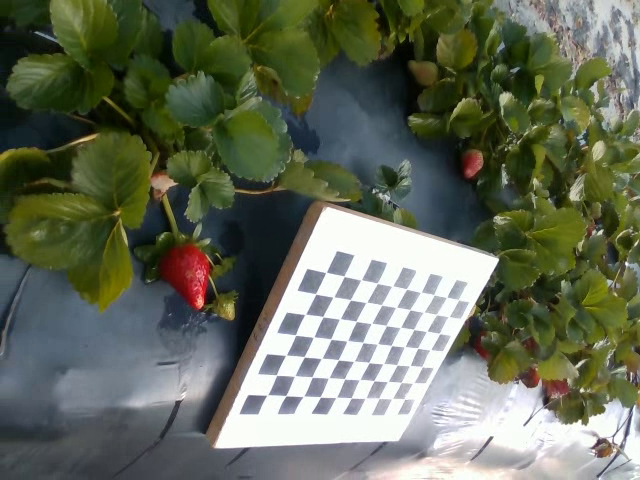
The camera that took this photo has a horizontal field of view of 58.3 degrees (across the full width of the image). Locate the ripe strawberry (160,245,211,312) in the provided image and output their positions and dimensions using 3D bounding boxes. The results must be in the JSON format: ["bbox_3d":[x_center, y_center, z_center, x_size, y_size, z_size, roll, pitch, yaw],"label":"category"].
[{"bbox_3d":[-0.110,0.035,0.490,0.043,0.057,0.052,-11,-30,-24],"label":"ripe strawberry"}]
